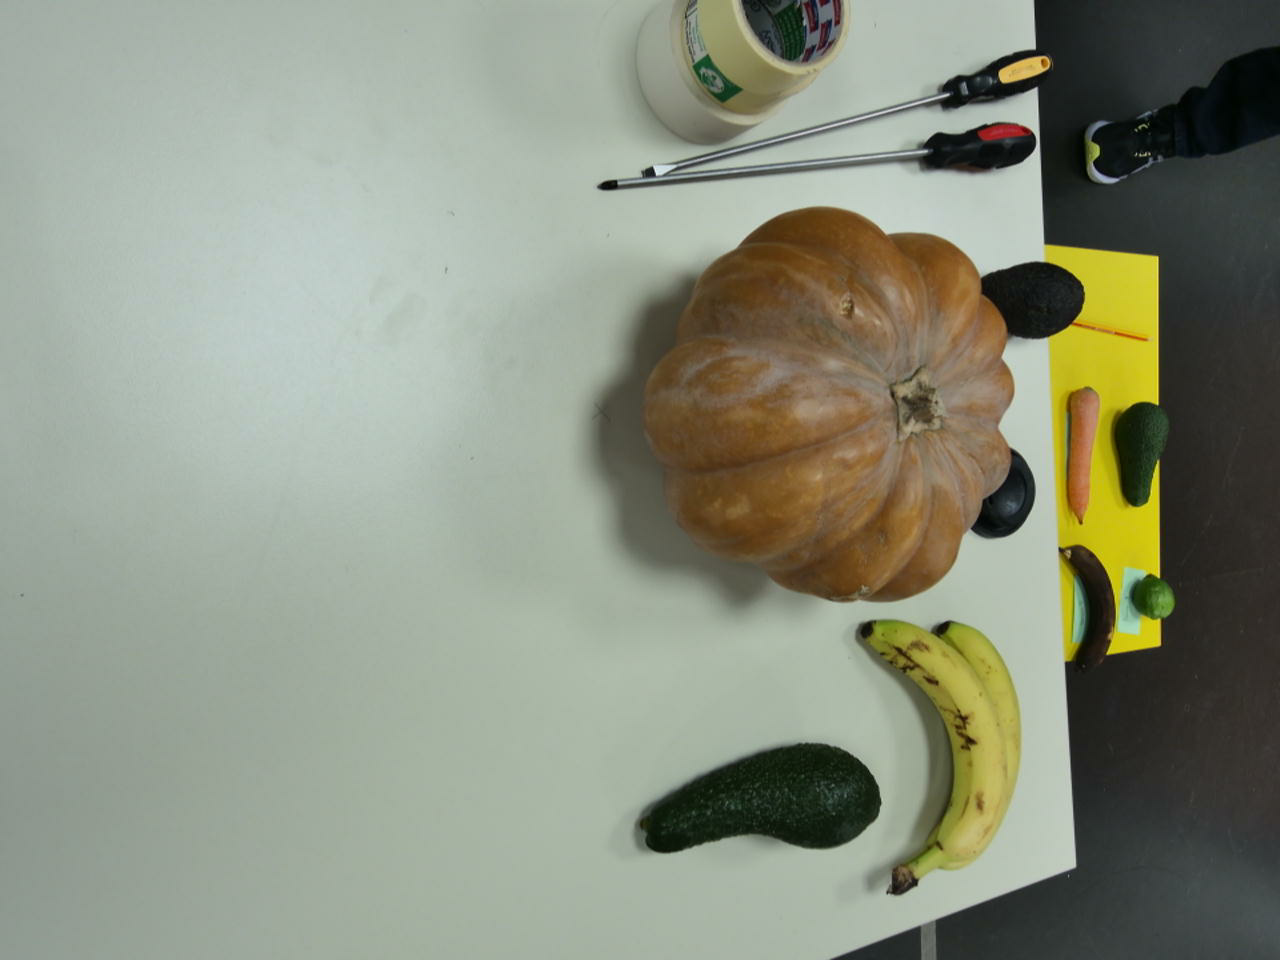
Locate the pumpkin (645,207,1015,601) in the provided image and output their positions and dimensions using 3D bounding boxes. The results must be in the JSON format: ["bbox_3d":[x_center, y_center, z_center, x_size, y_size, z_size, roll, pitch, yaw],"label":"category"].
[{"bbox_3d":[0.132,-0.049,0.679,0.277,0.181,0.277,-1,91,-29],"label":"pumpkin"}]
